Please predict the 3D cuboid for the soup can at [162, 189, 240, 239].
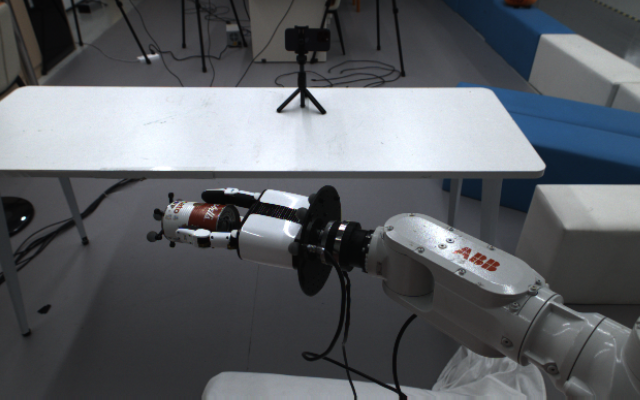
[{"bbox_3d":[-0.183,0.038,0.752,0.101,0.067,0.067,4,34,20],"label":"soup can"}]
